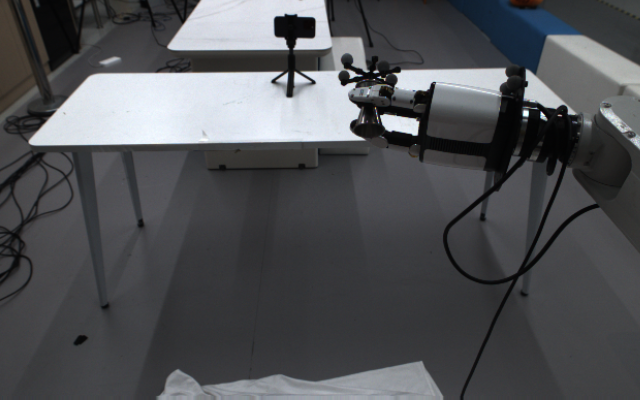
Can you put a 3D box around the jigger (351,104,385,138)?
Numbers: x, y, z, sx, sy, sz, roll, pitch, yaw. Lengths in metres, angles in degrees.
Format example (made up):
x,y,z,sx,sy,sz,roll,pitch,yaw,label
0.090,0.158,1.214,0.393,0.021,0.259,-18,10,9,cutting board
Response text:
x,y,z,sx,sy,sz,roll,pitch,yaw,label
0.066,-0.127,0.661,0.043,0.043,0.071,3,72,1,jigger
